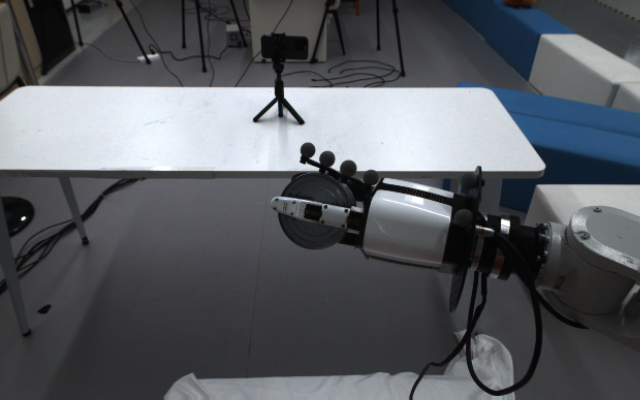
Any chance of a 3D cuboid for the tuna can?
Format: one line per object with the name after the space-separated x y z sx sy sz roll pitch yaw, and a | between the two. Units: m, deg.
0.000 0.011 0.549 0.085 0.085 0.034 13 2 16 | tuna can
